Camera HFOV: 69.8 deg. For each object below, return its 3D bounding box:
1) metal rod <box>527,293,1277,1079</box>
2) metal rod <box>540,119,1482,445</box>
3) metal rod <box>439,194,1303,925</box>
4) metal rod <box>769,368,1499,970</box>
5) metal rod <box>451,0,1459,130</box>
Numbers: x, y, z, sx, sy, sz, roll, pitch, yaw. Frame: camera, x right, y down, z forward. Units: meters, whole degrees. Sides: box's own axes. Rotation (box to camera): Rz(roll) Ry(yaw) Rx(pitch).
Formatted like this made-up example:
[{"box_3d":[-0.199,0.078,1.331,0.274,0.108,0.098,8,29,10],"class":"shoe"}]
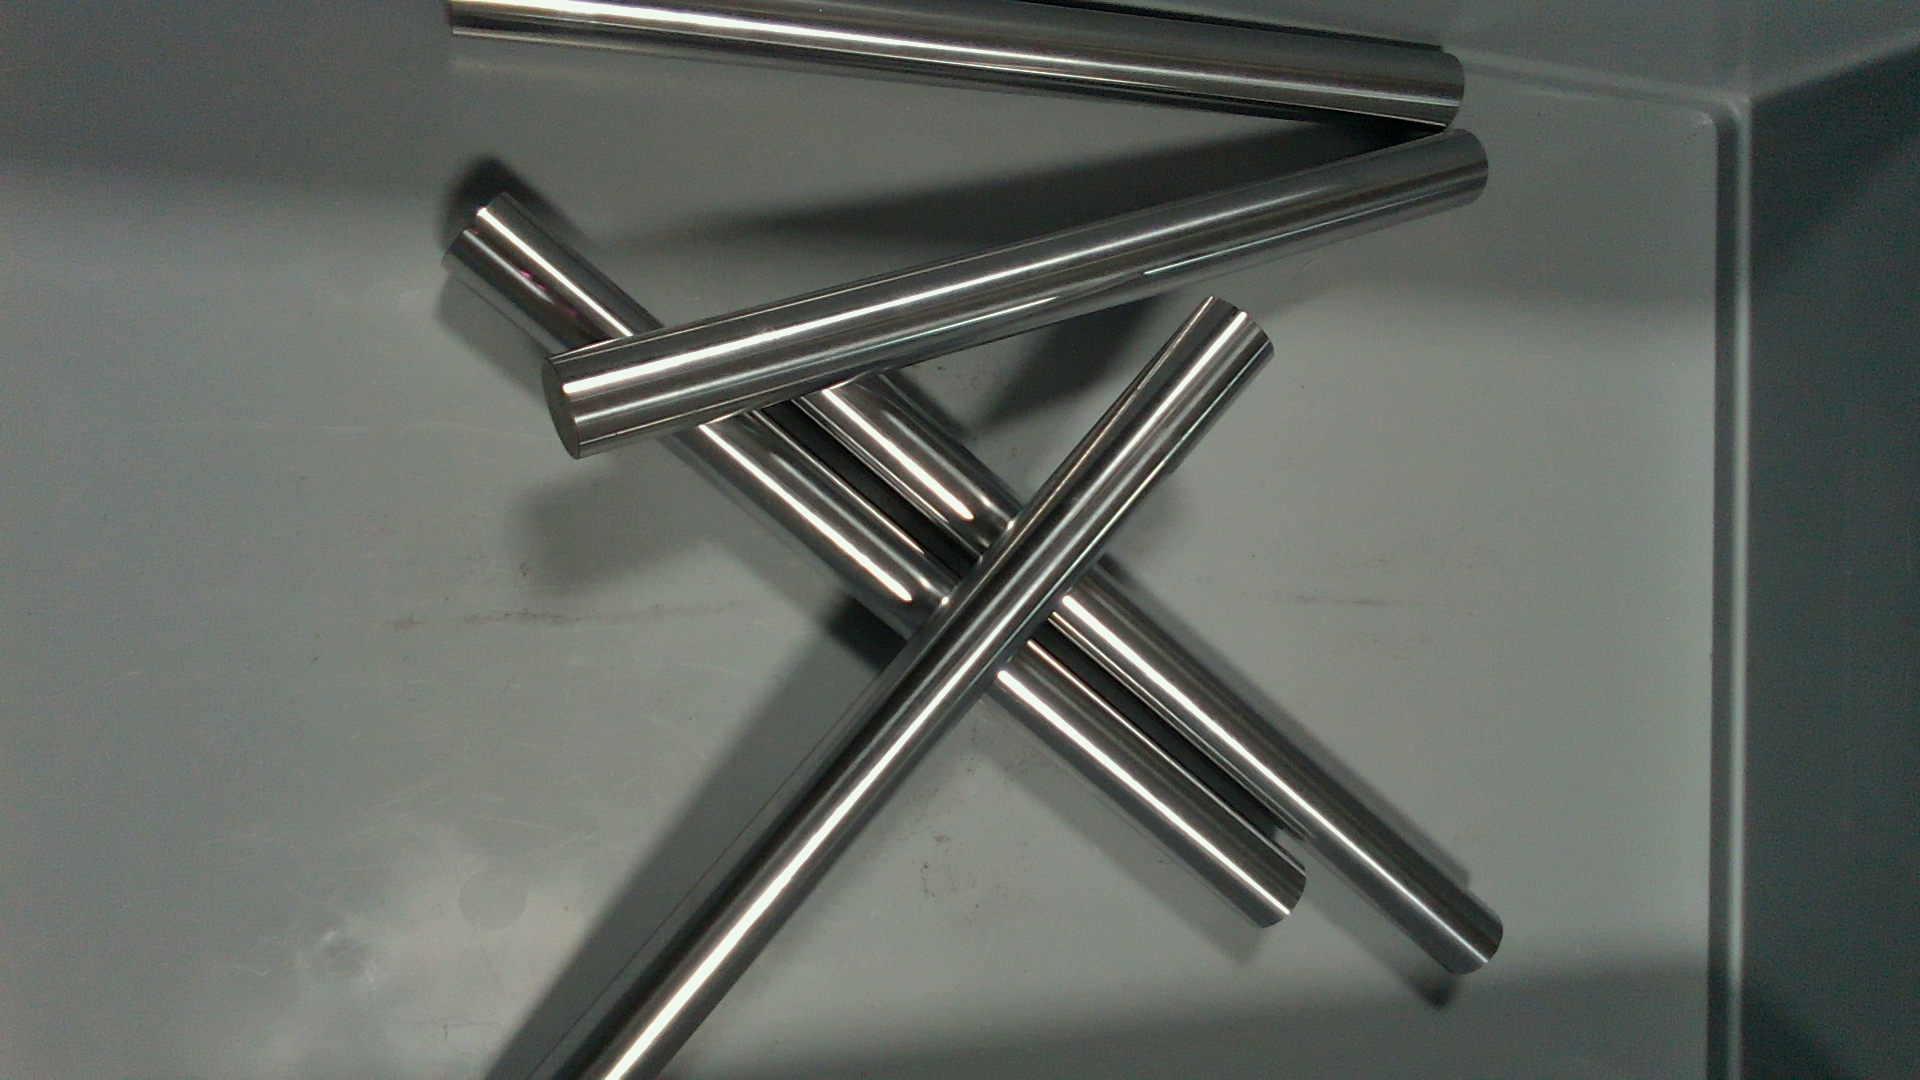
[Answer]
[{"box_3d":[-0.021,0.054,0.364,0.025,0.025,0.300,42,85,-15],"class":"metal rod"},{"box_3d":[0.033,-0.080,0.389,0.301,0.025,0.025,-20,97,-25],"class":"metal rod"},{"box_3d":[-0.013,0.016,0.388,0.300,0.025,0.025,40,77,-16],"class":"metal rod"},{"box_3d":[0.057,0.037,0.414,0.300,0.025,0.025,40,77,-16],"class":"metal rod"},{"box_3d":[0.013,-0.143,0.397,0.301,0.025,0.025,-1,90,-20],"class":"metal rod"}]
